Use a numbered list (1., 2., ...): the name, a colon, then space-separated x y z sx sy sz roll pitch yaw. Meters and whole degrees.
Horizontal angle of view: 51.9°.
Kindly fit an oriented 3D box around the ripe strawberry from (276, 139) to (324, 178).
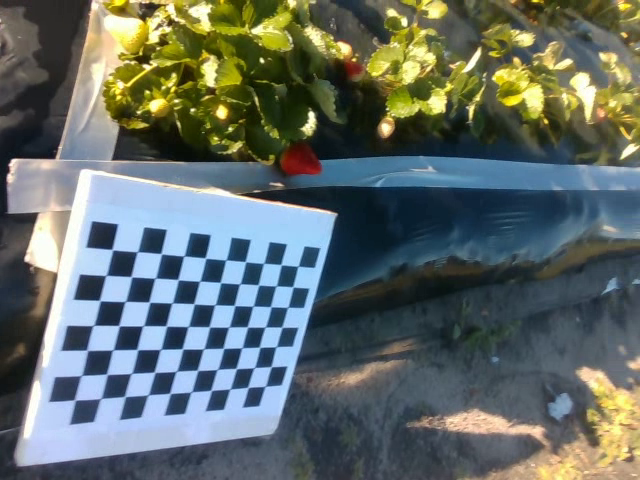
1. ripe strawberry: -0.023 -0.090 0.752 0.063 0.045 0.049 33 -5 21
